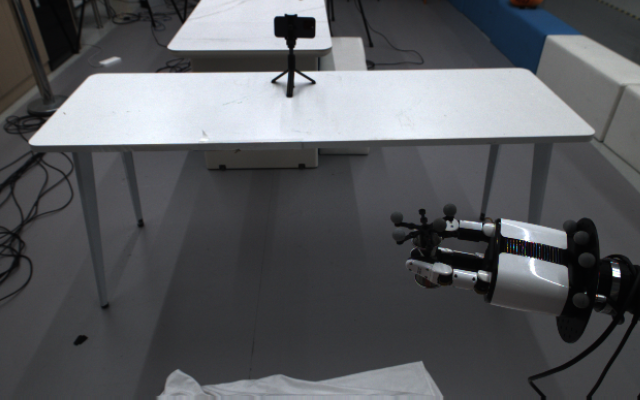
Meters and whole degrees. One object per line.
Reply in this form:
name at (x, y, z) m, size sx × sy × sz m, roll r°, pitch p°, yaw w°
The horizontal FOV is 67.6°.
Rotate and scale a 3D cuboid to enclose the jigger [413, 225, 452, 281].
jigger at (0.147, 0.079, 0.658) m, size 0.043 × 0.071 × 0.043 m, roll -10°, pitch 32°, yaw 6°
